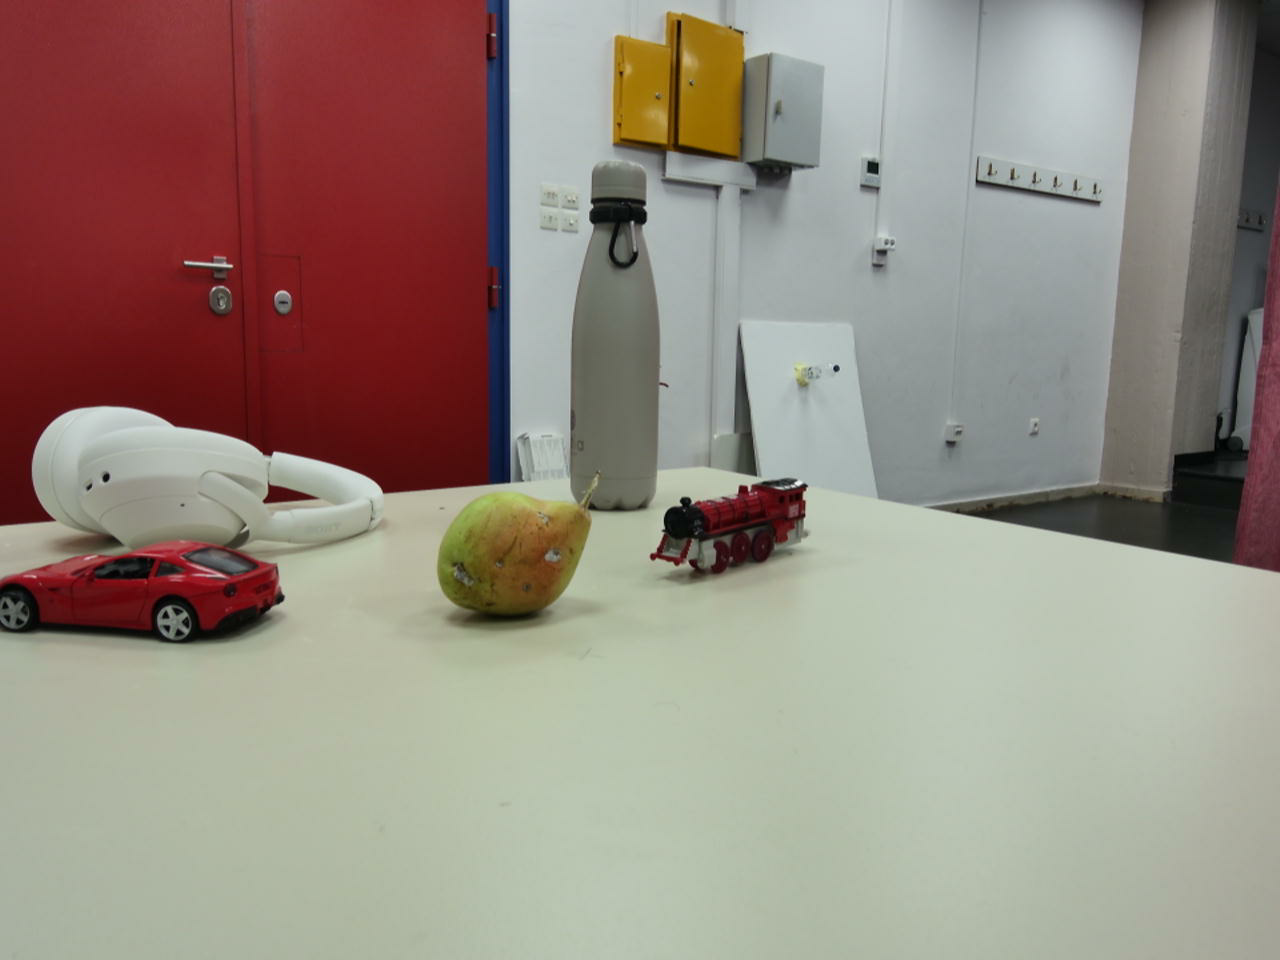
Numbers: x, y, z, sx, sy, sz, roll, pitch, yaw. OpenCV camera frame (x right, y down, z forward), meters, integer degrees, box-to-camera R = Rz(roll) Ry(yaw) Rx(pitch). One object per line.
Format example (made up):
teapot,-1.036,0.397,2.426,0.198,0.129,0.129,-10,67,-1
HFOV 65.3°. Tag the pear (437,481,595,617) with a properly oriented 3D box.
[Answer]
pear,-0.064,0.034,0.511,0.070,0.069,0.068,1,6,14
